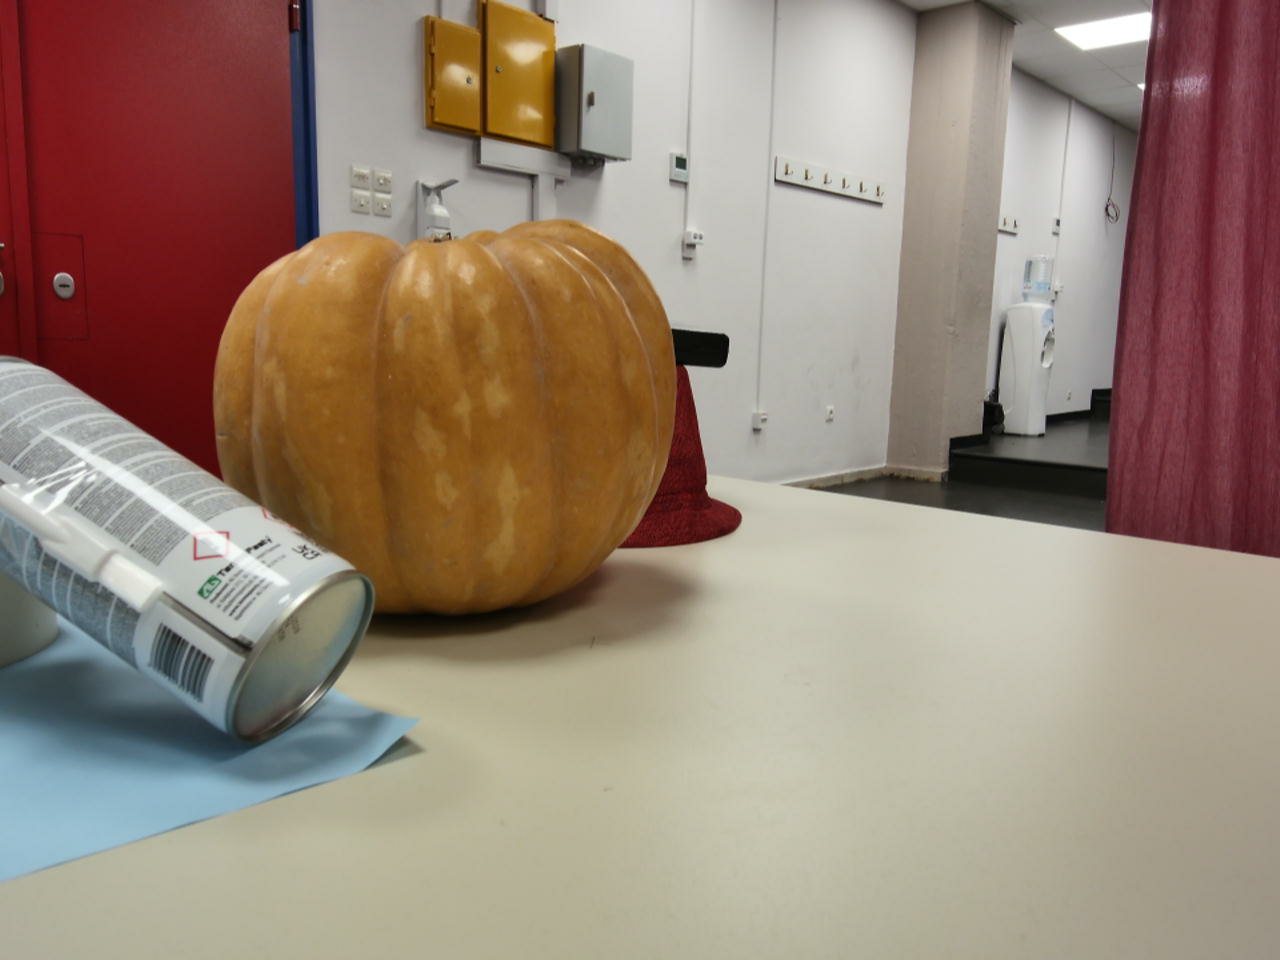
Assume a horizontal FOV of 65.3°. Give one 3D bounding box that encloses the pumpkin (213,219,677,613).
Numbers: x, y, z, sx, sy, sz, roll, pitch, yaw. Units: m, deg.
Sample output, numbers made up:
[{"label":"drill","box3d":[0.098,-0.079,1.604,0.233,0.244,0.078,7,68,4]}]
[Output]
[{"label":"pumpkin","box3d":[-0.093,-0.035,0.504,0.230,0.194,0.230,0,7,0]}]
